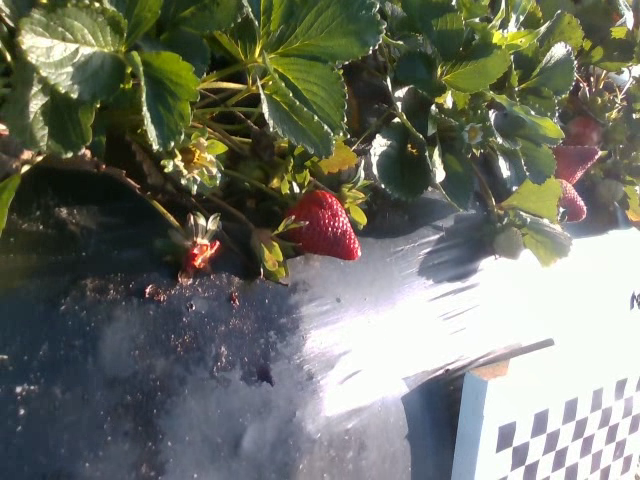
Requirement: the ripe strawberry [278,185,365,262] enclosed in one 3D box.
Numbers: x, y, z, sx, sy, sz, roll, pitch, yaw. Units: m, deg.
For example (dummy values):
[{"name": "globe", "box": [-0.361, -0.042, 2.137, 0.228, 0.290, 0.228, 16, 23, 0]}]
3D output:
[{"name": "ripe strawberry", "box": [0.007, -0.005, 0.377, 0.052, 0.041, 0.052, -37, 63, -27]}]
